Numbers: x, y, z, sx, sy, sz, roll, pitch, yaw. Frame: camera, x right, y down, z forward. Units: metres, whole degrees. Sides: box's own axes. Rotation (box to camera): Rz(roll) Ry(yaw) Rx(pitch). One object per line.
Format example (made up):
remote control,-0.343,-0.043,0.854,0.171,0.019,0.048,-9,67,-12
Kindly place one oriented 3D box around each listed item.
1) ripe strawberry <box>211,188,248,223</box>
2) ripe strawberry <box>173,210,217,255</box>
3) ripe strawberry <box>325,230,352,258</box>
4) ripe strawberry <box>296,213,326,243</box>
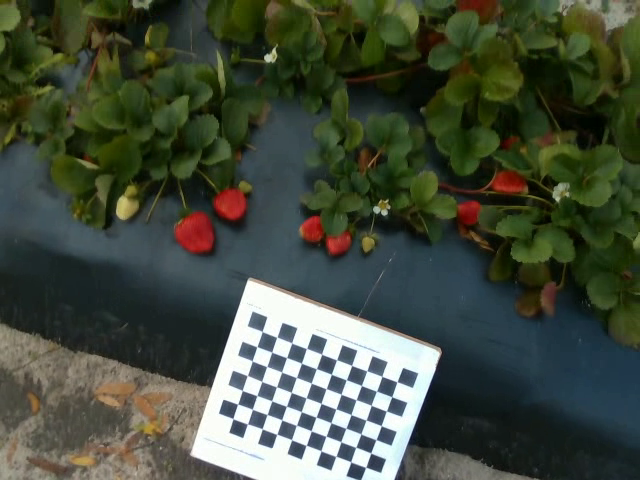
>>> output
ripe strawberry,-0.130,-0.046,0.941,0.051,0.051,0.060,29,20,-41
ripe strawberry,-0.179,-0.003,0.926,0.058,0.065,0.043,-41,-14,15
ripe strawberry,0.027,0.005,0.923,0.043,0.041,0.049,14,37,4
ripe strawberry,-0.011,-0.014,0.935,0.053,0.047,0.038,-10,15,-26
